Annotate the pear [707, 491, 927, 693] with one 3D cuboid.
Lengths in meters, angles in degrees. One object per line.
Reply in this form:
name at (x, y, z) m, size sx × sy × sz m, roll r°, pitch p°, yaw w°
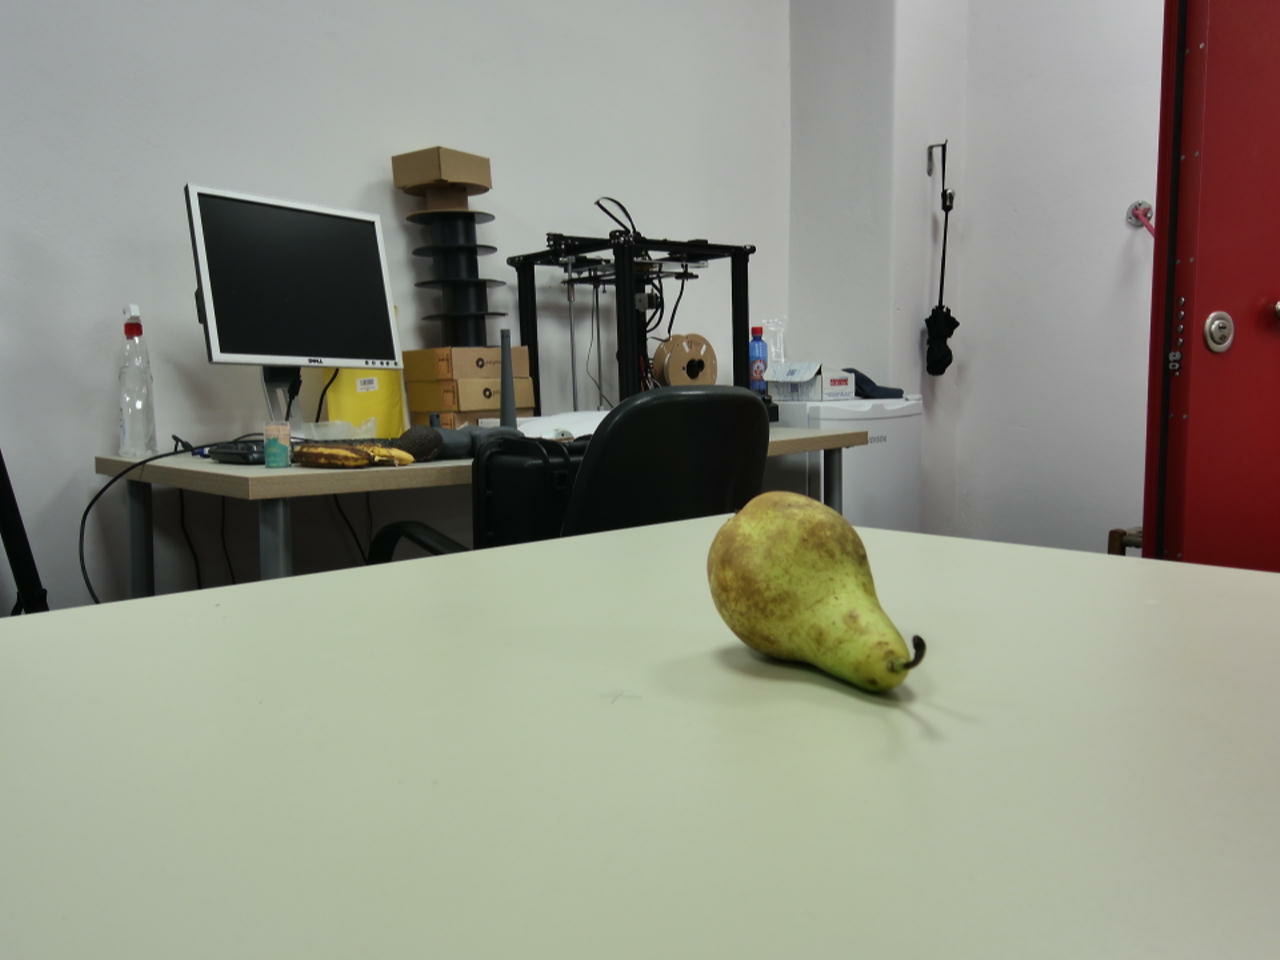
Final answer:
pear at (0.088, 0.046, 0.431) m, size 0.071 × 0.075 × 0.144 m, roll -2°, pitch 4°, yaw -33°
